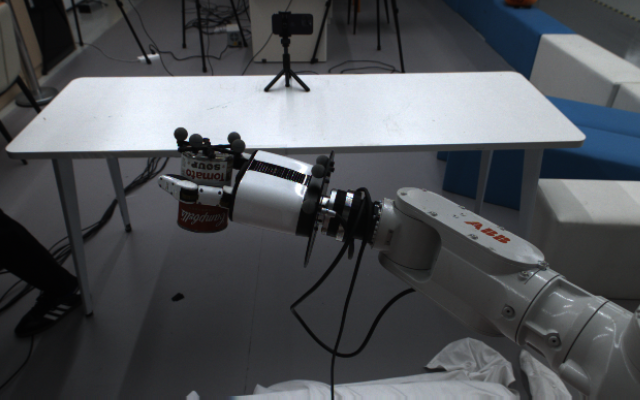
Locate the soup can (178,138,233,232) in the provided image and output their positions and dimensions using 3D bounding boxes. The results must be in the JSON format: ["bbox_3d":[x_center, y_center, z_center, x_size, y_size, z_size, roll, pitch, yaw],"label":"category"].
[{"bbox_3d":[-0.151,-0.015,0.640,0.067,0.101,0.067,8,19,-3],"label":"soup can"}]
